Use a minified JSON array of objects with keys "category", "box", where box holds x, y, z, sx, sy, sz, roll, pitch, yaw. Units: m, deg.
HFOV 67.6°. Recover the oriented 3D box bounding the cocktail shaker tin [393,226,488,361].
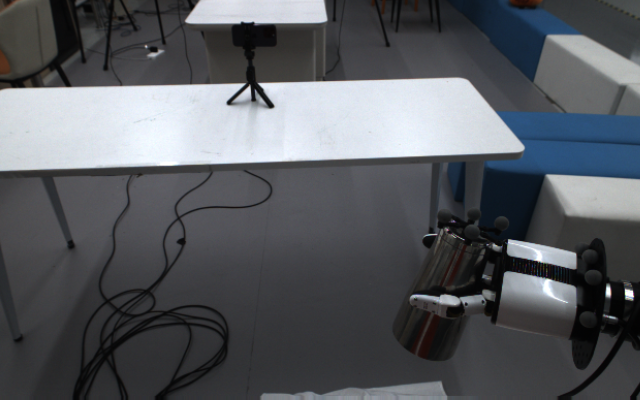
[{"category":"cocktail shaker tin","box":[0.167,0.113,0.640,0.093,0.170,0.093,12,24,-5]}]
